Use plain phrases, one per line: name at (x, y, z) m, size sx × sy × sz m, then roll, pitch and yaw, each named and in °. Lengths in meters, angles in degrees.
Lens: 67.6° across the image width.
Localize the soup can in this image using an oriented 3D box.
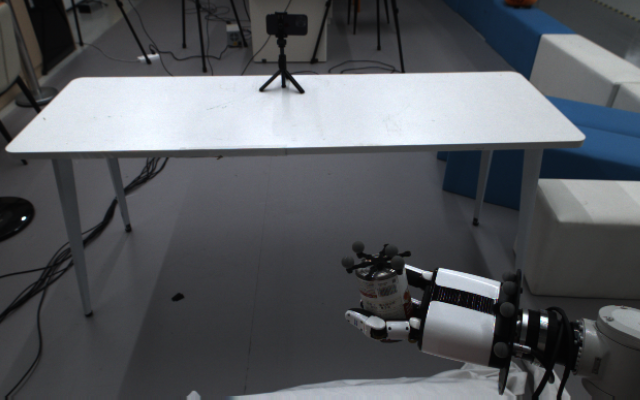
soup can at (0.091, 0.132, 0.657) m, size 0.067 × 0.101 × 0.067 m, roll -12°, pitch 19°, yaw 4°
